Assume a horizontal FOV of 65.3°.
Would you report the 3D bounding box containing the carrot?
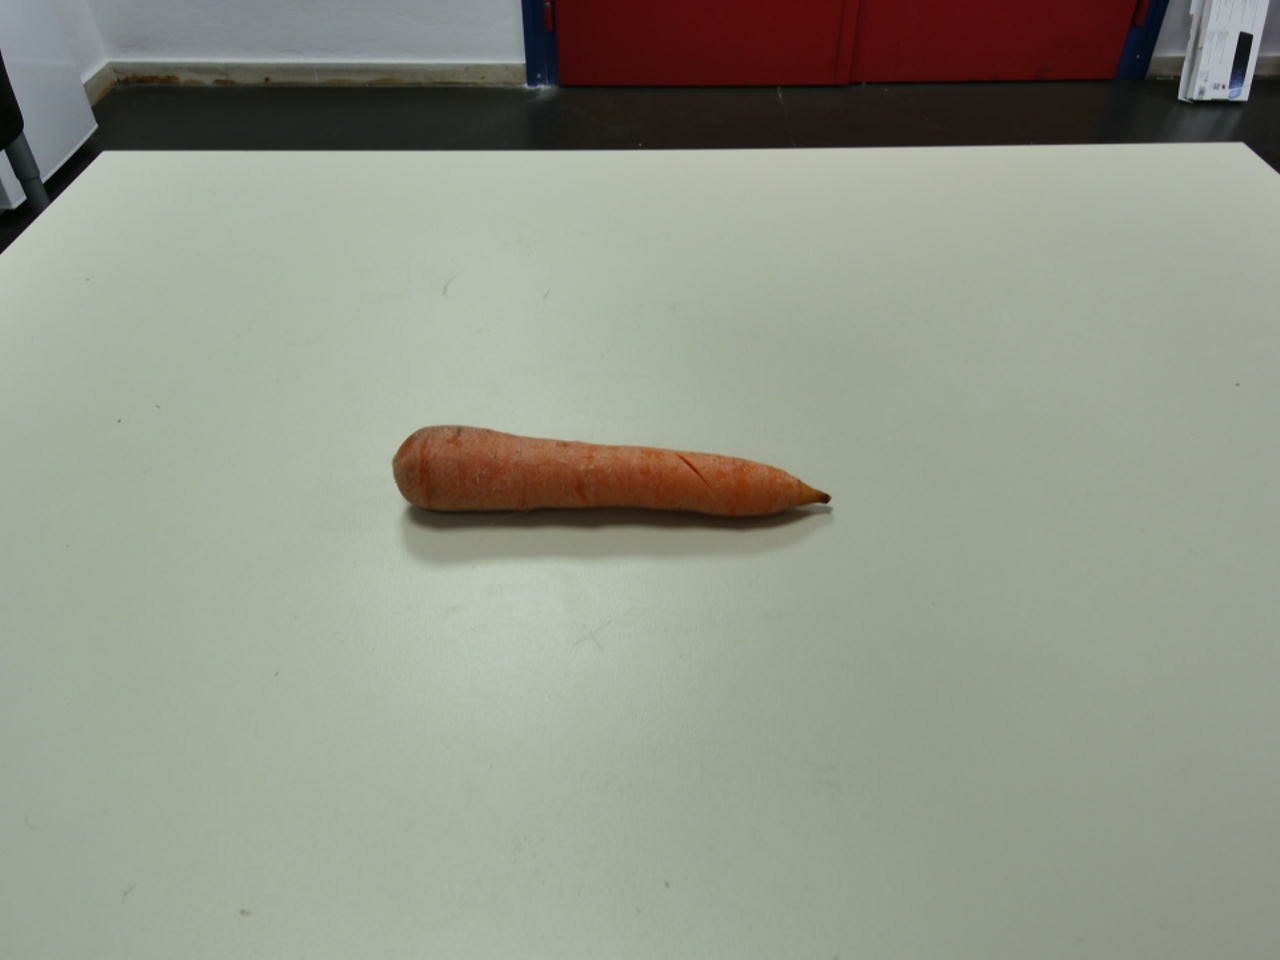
[{"bbox_3d":[-0.012,-0.004,0.447,0.196,0.041,0.039,0,38,0],"label":"carrot"}]
